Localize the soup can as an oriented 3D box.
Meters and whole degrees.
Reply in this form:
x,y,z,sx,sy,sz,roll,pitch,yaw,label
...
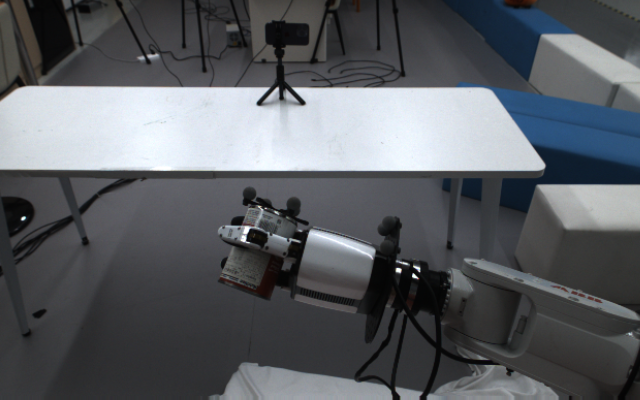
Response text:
x,y,z,sx,sy,sz,roll,pitch,yaw,label
-0.073,0.066,0.599,0.067,0.067,0.101,16,75,19,soup can
